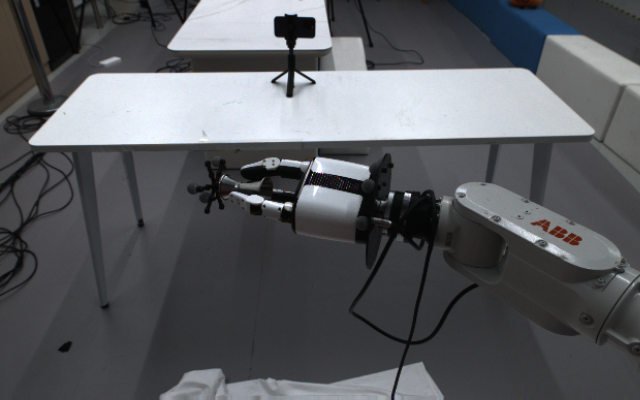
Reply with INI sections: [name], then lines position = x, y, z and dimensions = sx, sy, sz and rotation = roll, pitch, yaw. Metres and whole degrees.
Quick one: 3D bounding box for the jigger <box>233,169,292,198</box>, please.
[jigger]
position = -0.101, -0.022, 0.706
dimensions = 0.071, 0.043, 0.043
rotation = 5, 34, 19
